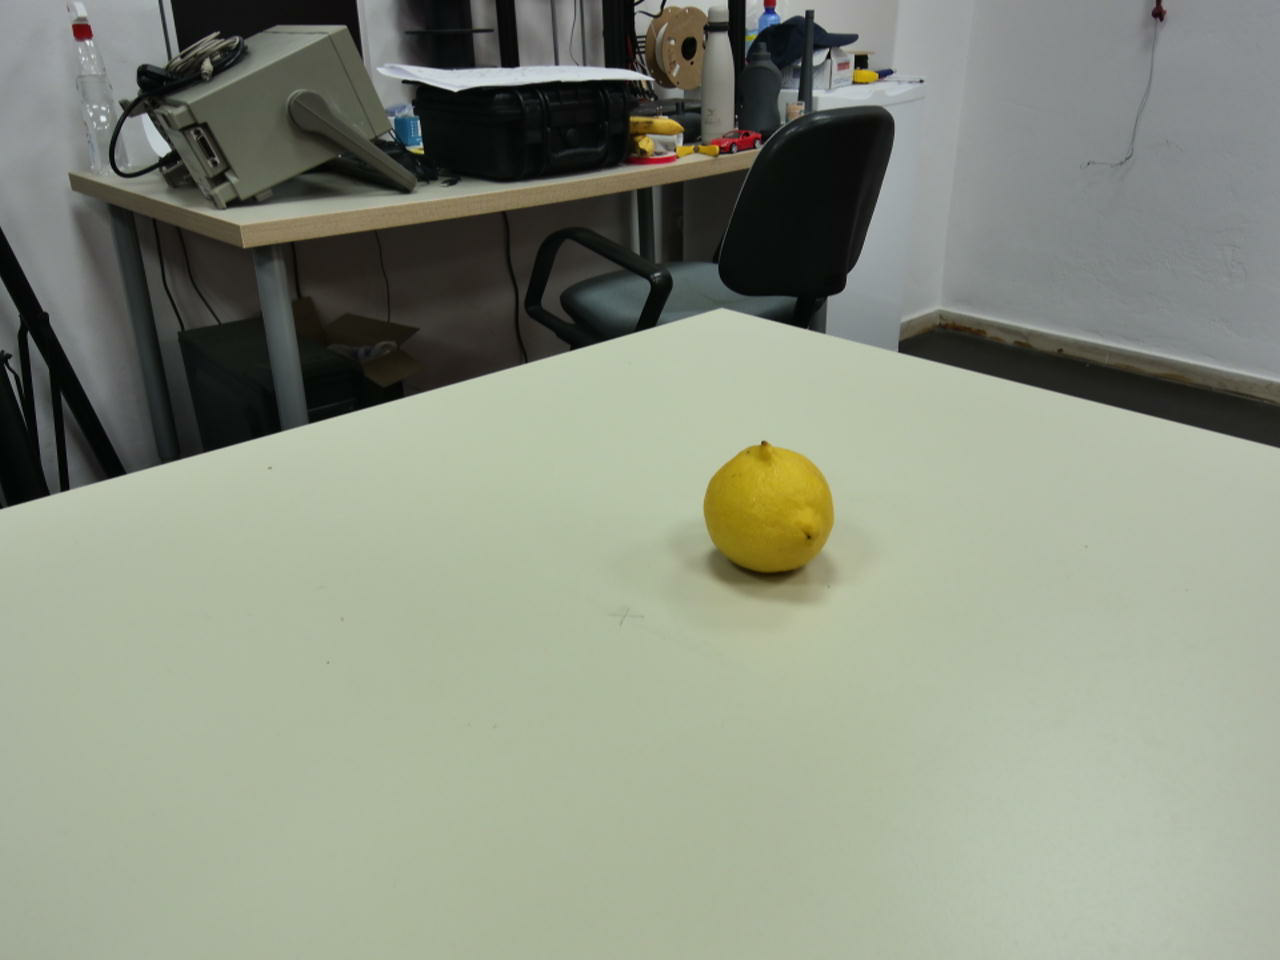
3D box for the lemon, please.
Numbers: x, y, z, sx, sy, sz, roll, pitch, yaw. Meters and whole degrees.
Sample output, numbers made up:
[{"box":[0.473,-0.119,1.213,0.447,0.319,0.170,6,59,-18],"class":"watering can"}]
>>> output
[{"box":[0.069,0.013,0.537,0.070,0.071,0.071,6,24,14],"class":"lemon"}]
